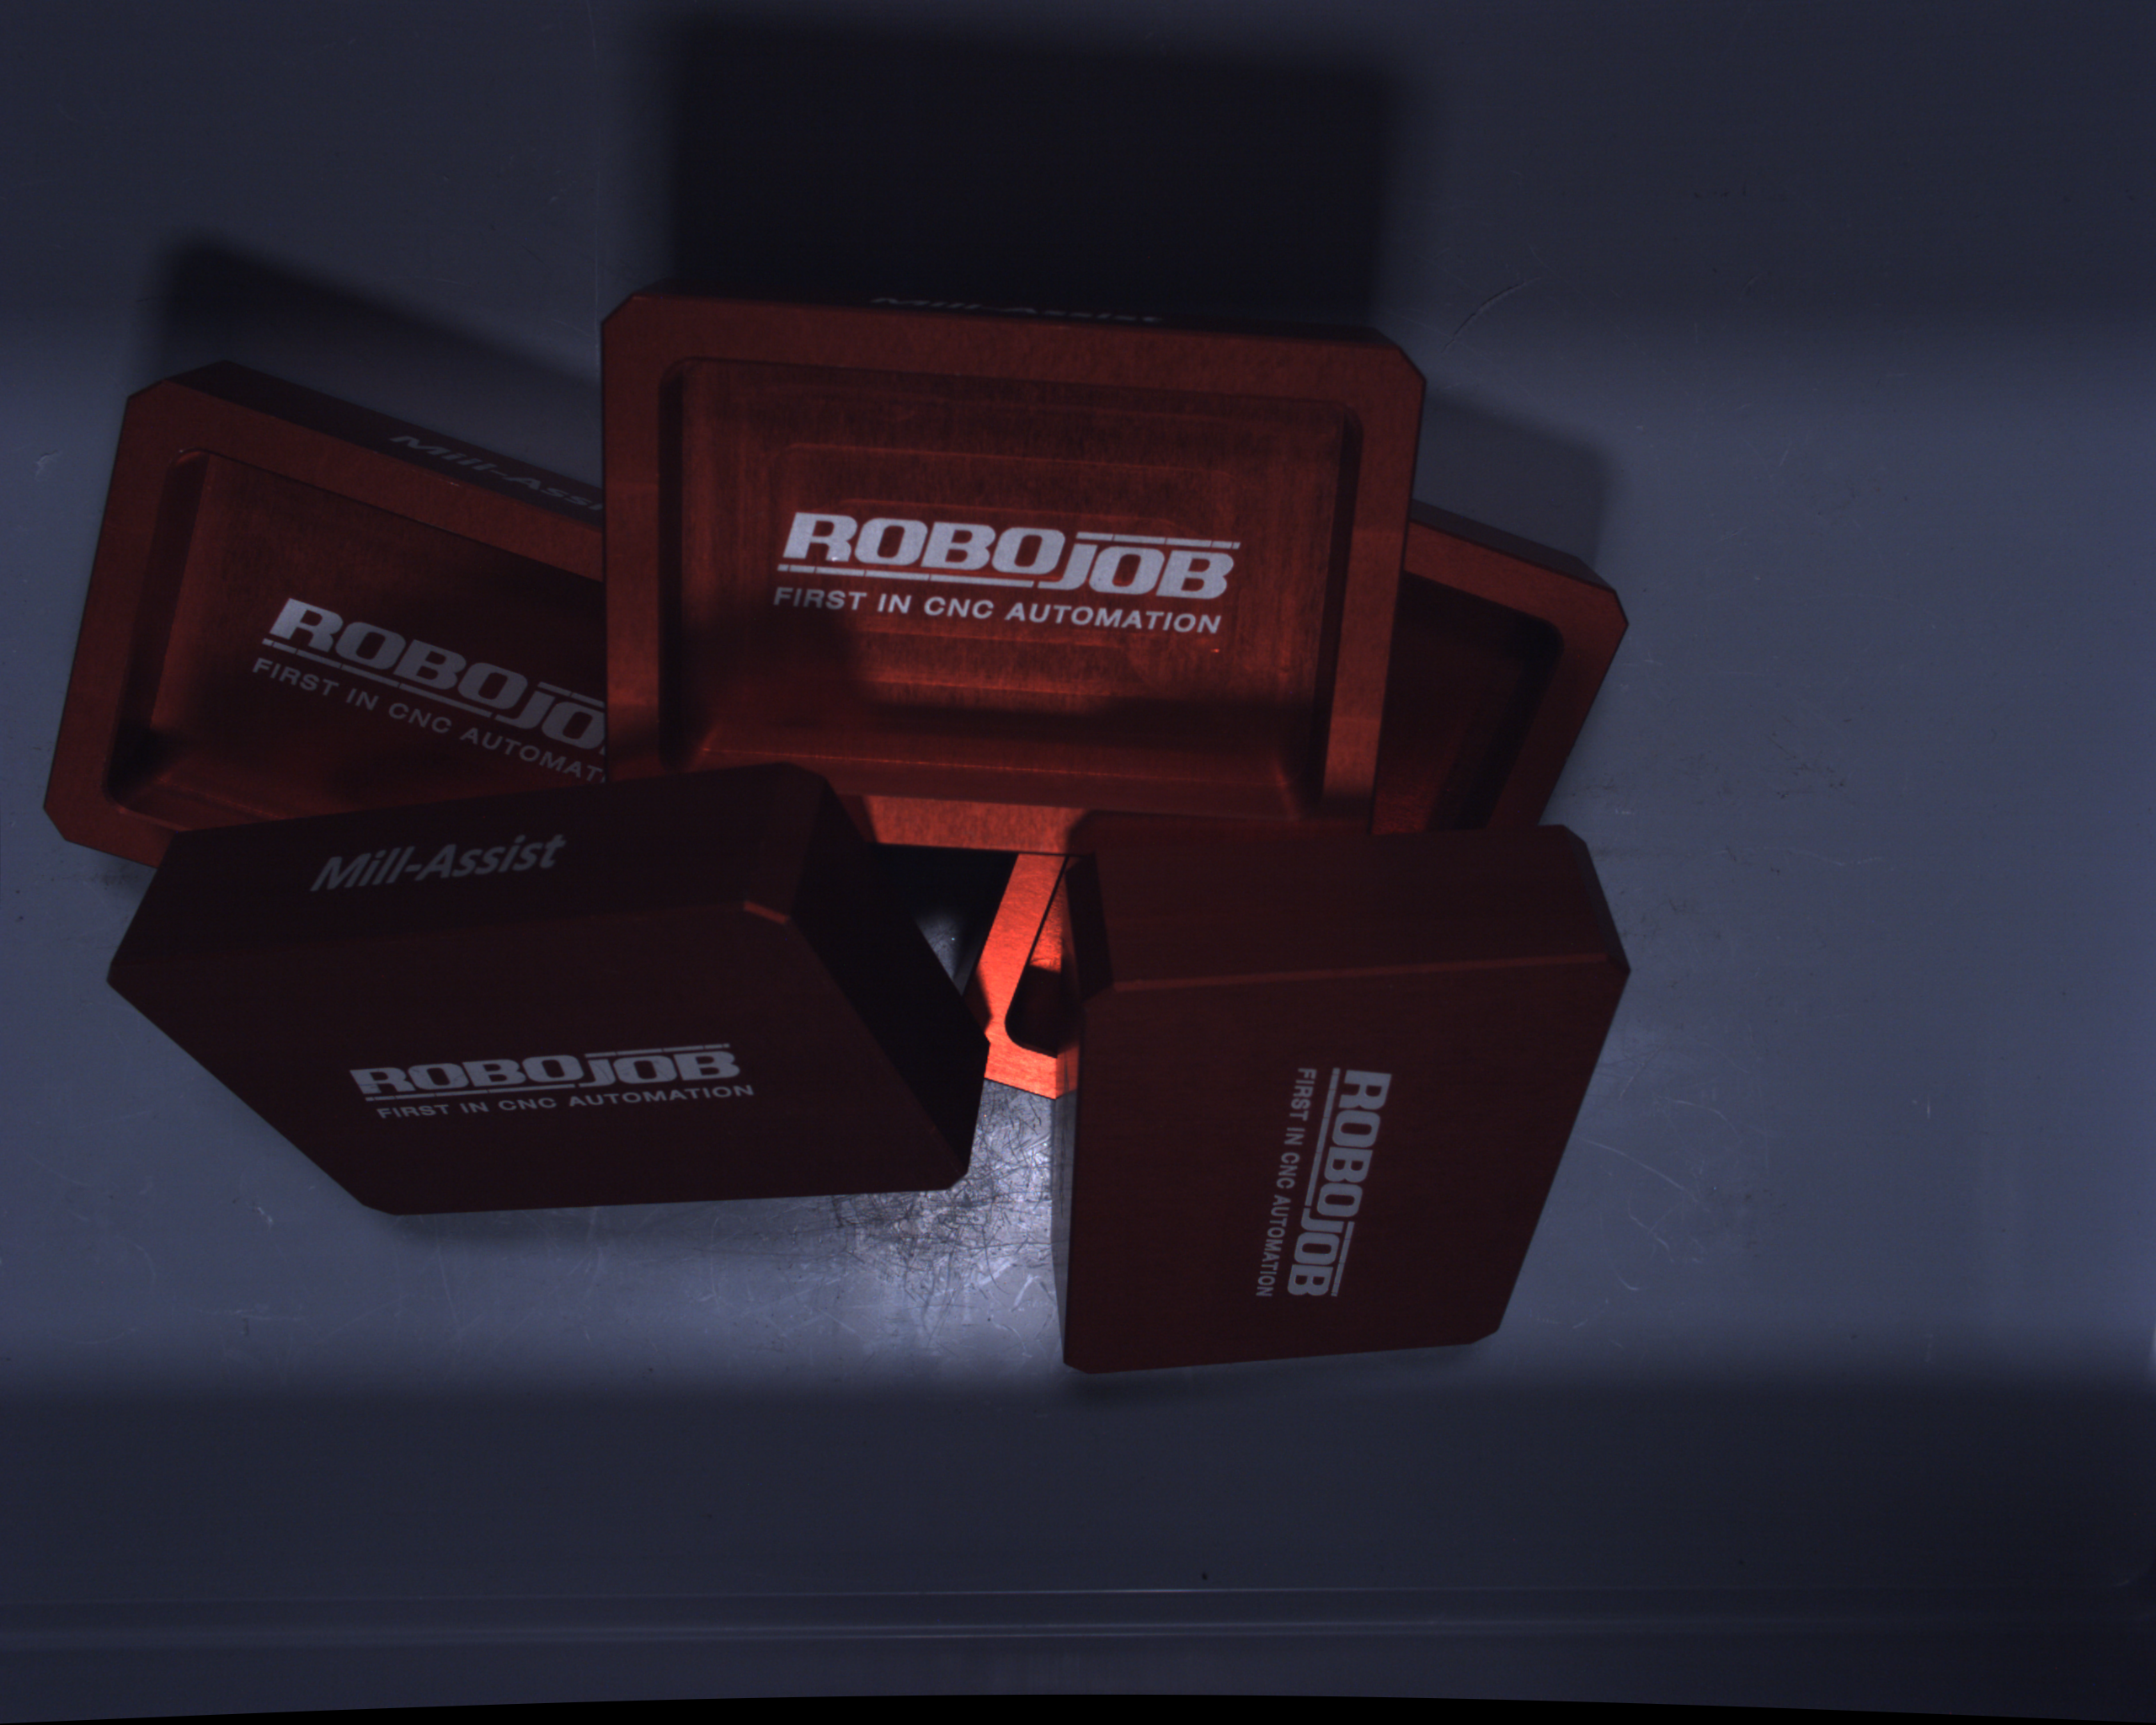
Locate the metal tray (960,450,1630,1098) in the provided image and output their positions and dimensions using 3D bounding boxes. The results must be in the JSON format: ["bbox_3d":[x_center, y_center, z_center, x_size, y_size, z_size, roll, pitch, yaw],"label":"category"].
[{"bbox_3d":[0.037,-0.009,0.404,0.091,0.030,0.129,18,109,-7],"label":"metal tray"}]

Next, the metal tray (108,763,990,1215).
[{"bbox_3d":[-0.093,0.028,0.379,0.130,0.030,0.090,-5,141,18],"label":"metal tray"}]

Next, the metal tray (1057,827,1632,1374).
[{"bbox_3d":[0.043,0.049,0.391,0.091,0.030,0.129,-3,139,-5],"label":"metal tray"}]

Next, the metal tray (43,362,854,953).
[{"bbox_3d":[-0.116,-0.029,0.393,0.131,0.030,0.089,18,109,-7],"label":"metal tray"}]

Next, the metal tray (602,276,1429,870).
[{"bbox_3d":[-0.012,-0.049,0.356,0.131,0.030,0.089,3,110,-2],"label":"metal tray"}]
